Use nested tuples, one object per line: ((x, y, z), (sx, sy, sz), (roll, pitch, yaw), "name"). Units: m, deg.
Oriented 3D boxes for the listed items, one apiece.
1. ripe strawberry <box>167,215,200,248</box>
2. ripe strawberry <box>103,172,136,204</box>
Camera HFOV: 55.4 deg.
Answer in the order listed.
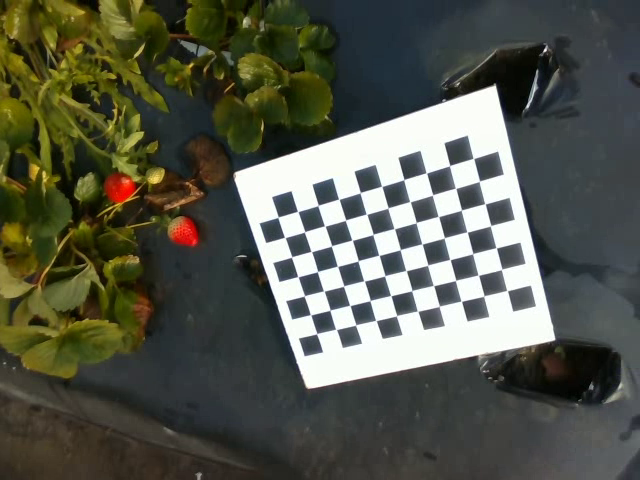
((-0.155, -0.008, 0.687), (0.043, 0.035, 0.030), (37, 19, 4), "ripe strawberry")
((-0.228, -0.062, 0.684), (0.032, 0.039, 0.049), (-36, 8, -30), "ripe strawberry")
